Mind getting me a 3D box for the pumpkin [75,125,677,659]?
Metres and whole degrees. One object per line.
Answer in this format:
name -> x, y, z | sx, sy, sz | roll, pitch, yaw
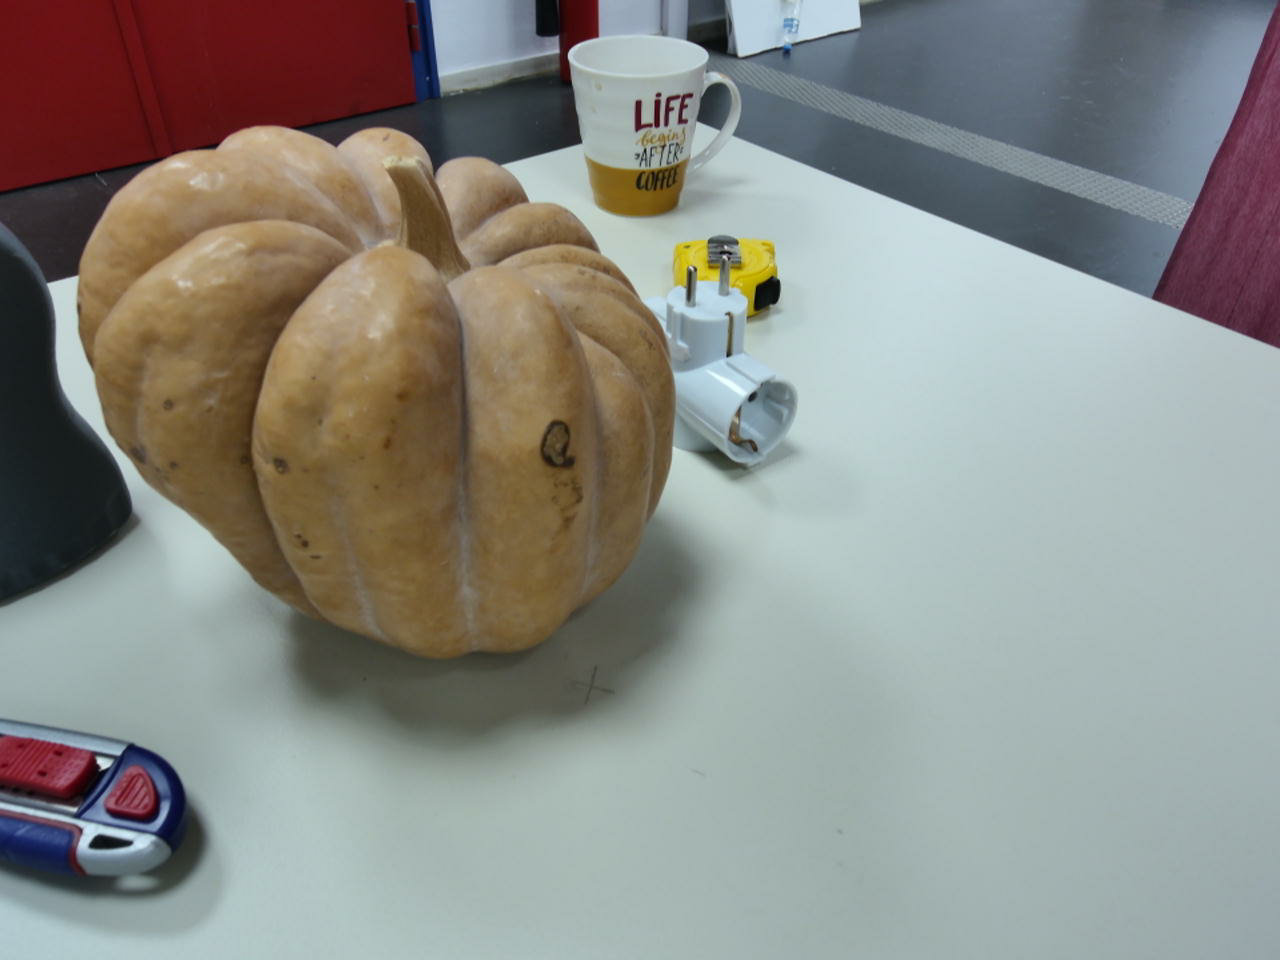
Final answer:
pumpkin -> -0.084, -0.030, 0.354 | 0.199, 0.177, 0.198 | 0, 37, 0
